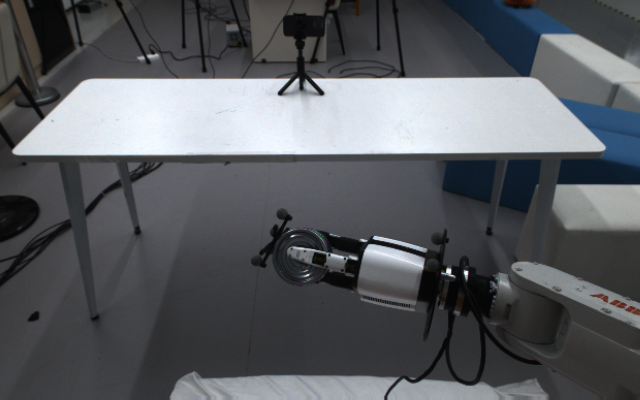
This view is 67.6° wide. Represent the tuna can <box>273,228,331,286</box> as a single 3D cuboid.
[{"bbox_3d":[-0.023,0.086,0.709,0.085,0.085,0.034,9,-4,10],"label":"tuna can"}]
